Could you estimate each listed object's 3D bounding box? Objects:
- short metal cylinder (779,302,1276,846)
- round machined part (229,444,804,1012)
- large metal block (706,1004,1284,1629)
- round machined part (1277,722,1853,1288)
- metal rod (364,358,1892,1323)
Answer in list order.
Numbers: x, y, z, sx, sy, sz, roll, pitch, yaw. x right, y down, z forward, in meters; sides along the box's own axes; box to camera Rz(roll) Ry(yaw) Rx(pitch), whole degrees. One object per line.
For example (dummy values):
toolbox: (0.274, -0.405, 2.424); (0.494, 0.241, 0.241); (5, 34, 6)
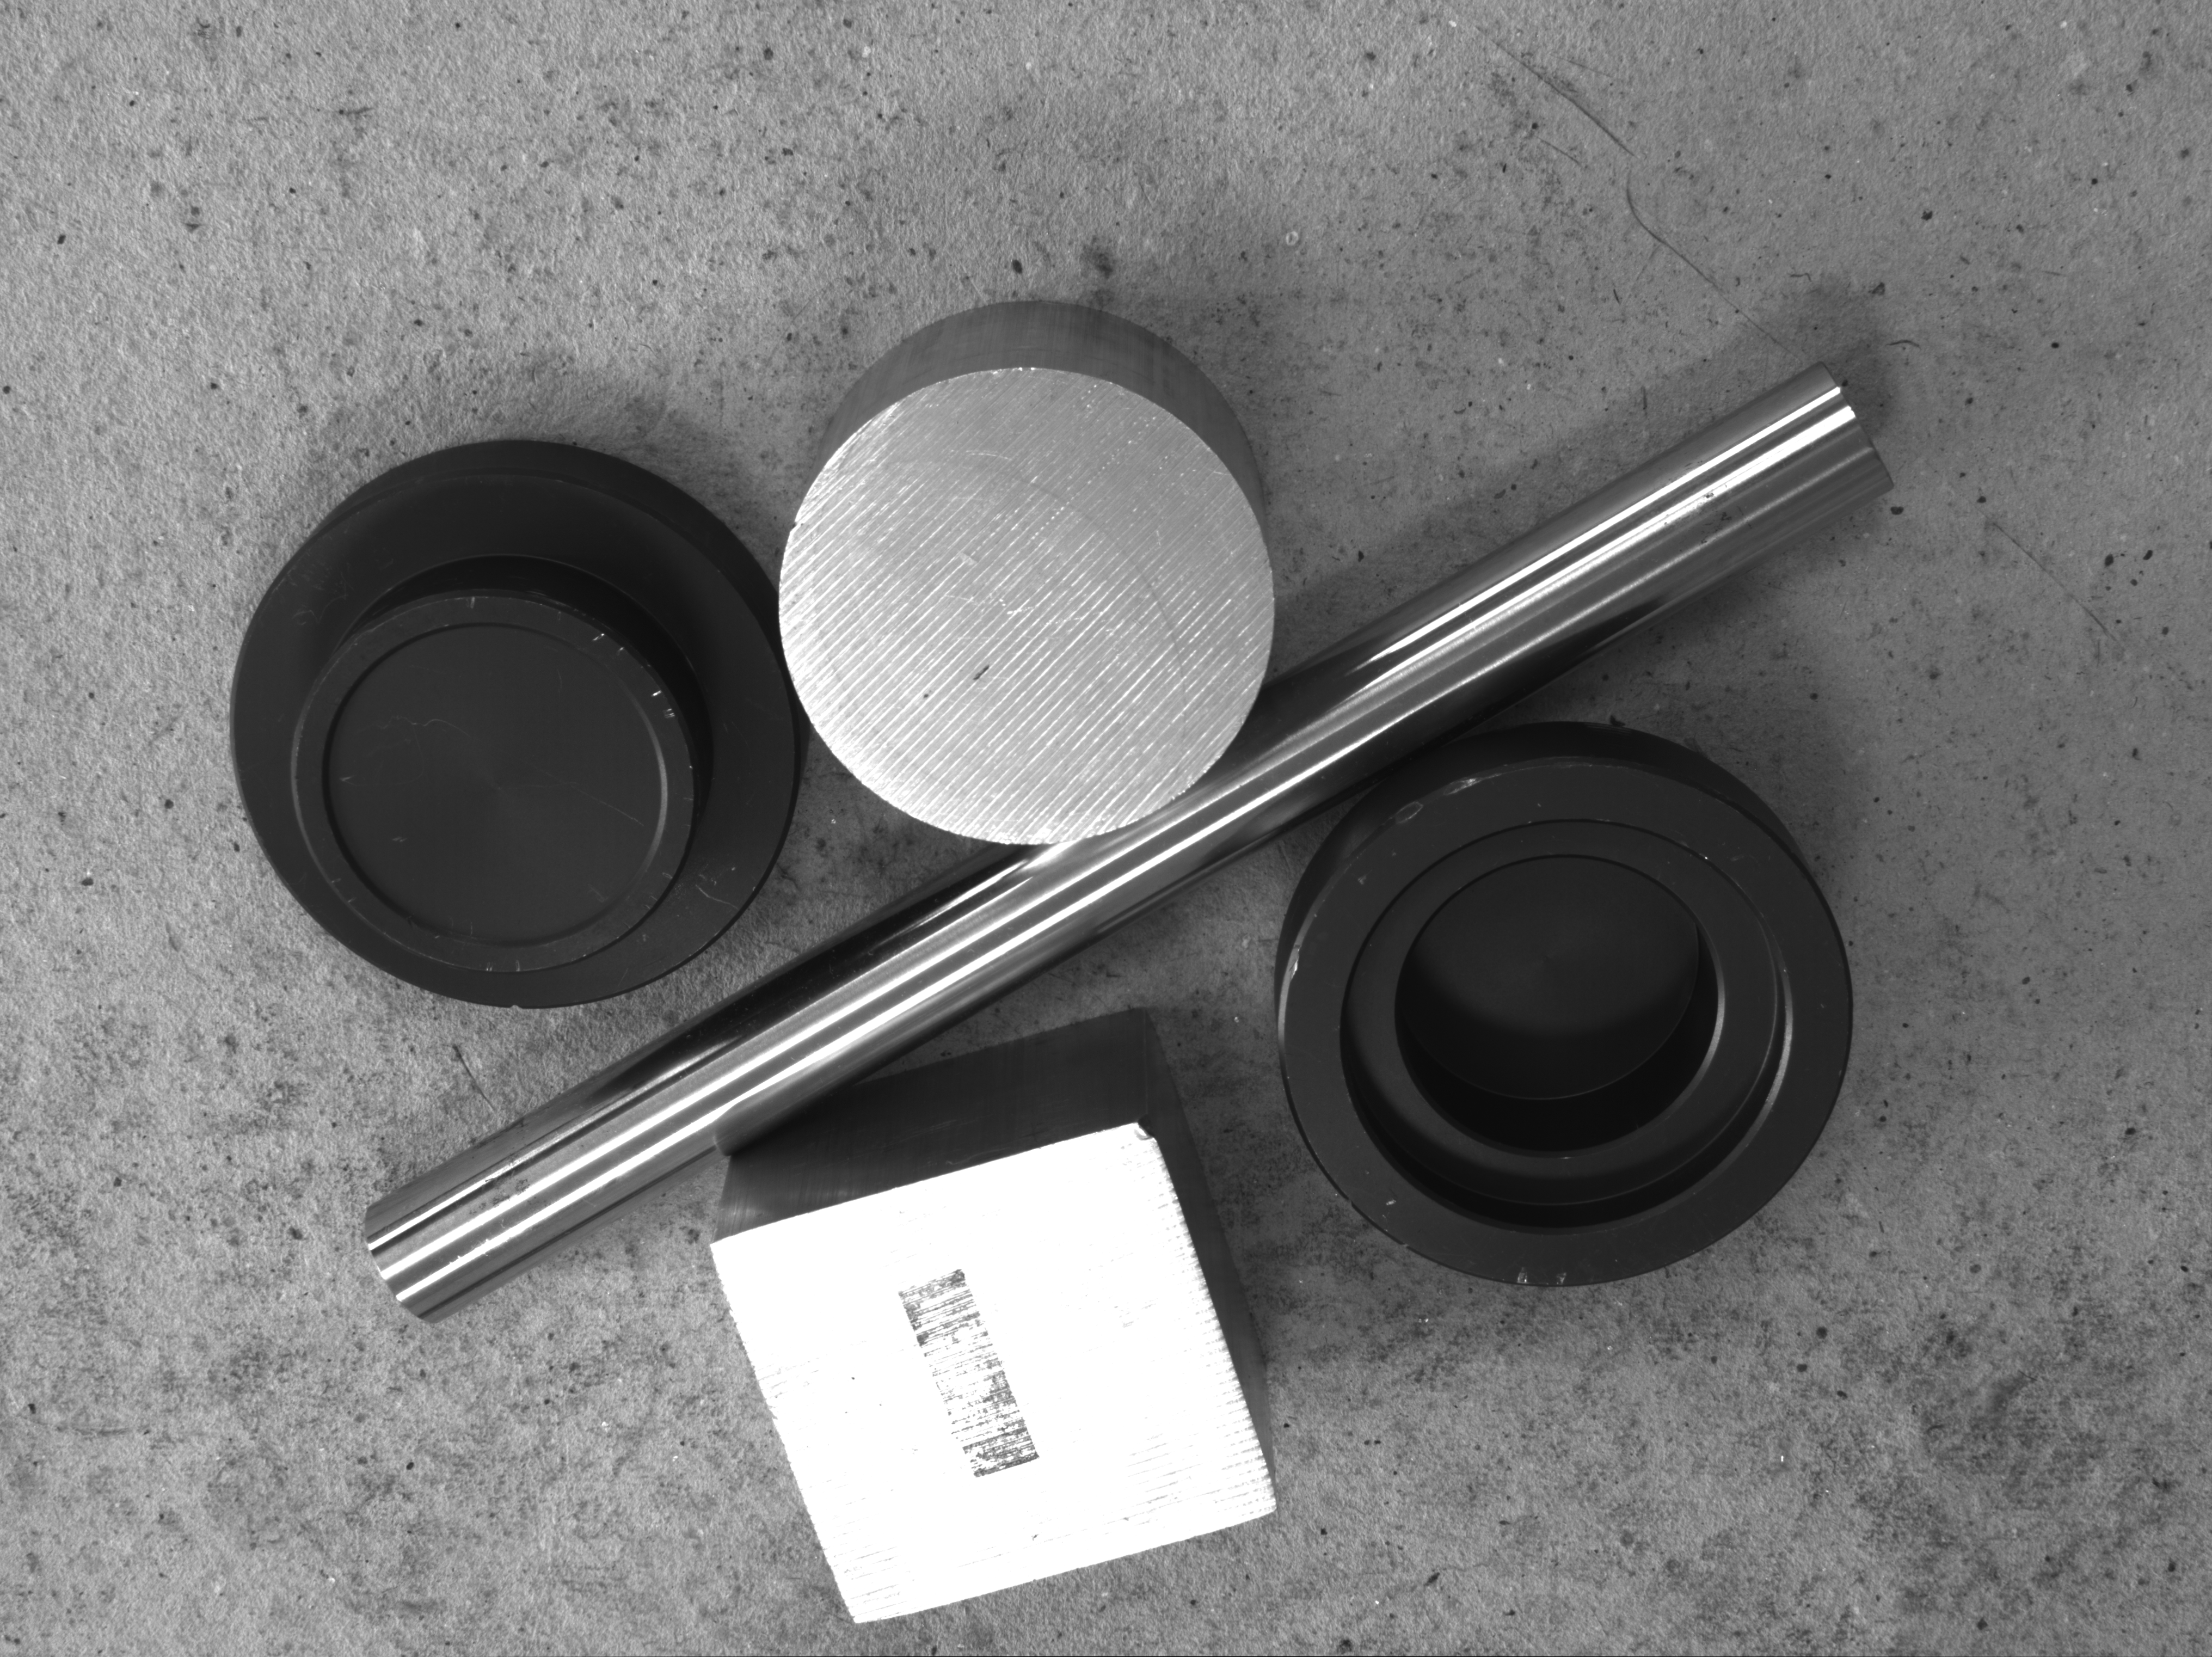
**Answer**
short metal cylinder: (-0.012, -0.043, 0.615); (0.080, 0.050, 0.080); (0, 110, 0)
round machined part: (-0.101, -0.013, 0.630); (0.098, 0.042, 0.098); (0, 110, 0)
large metal block: (-0.019, 0.088, 0.664); (0.080, 0.050, 0.080); (-16, 109, 6)
round machined part: (0.078, 0.028, 0.645); (0.098, 0.042, 0.098); (0, 110, 0)
metal rod: (-0.001, 0.005, 0.647); (0.300, 0.025, 0.025); (-30, 107, 10)
